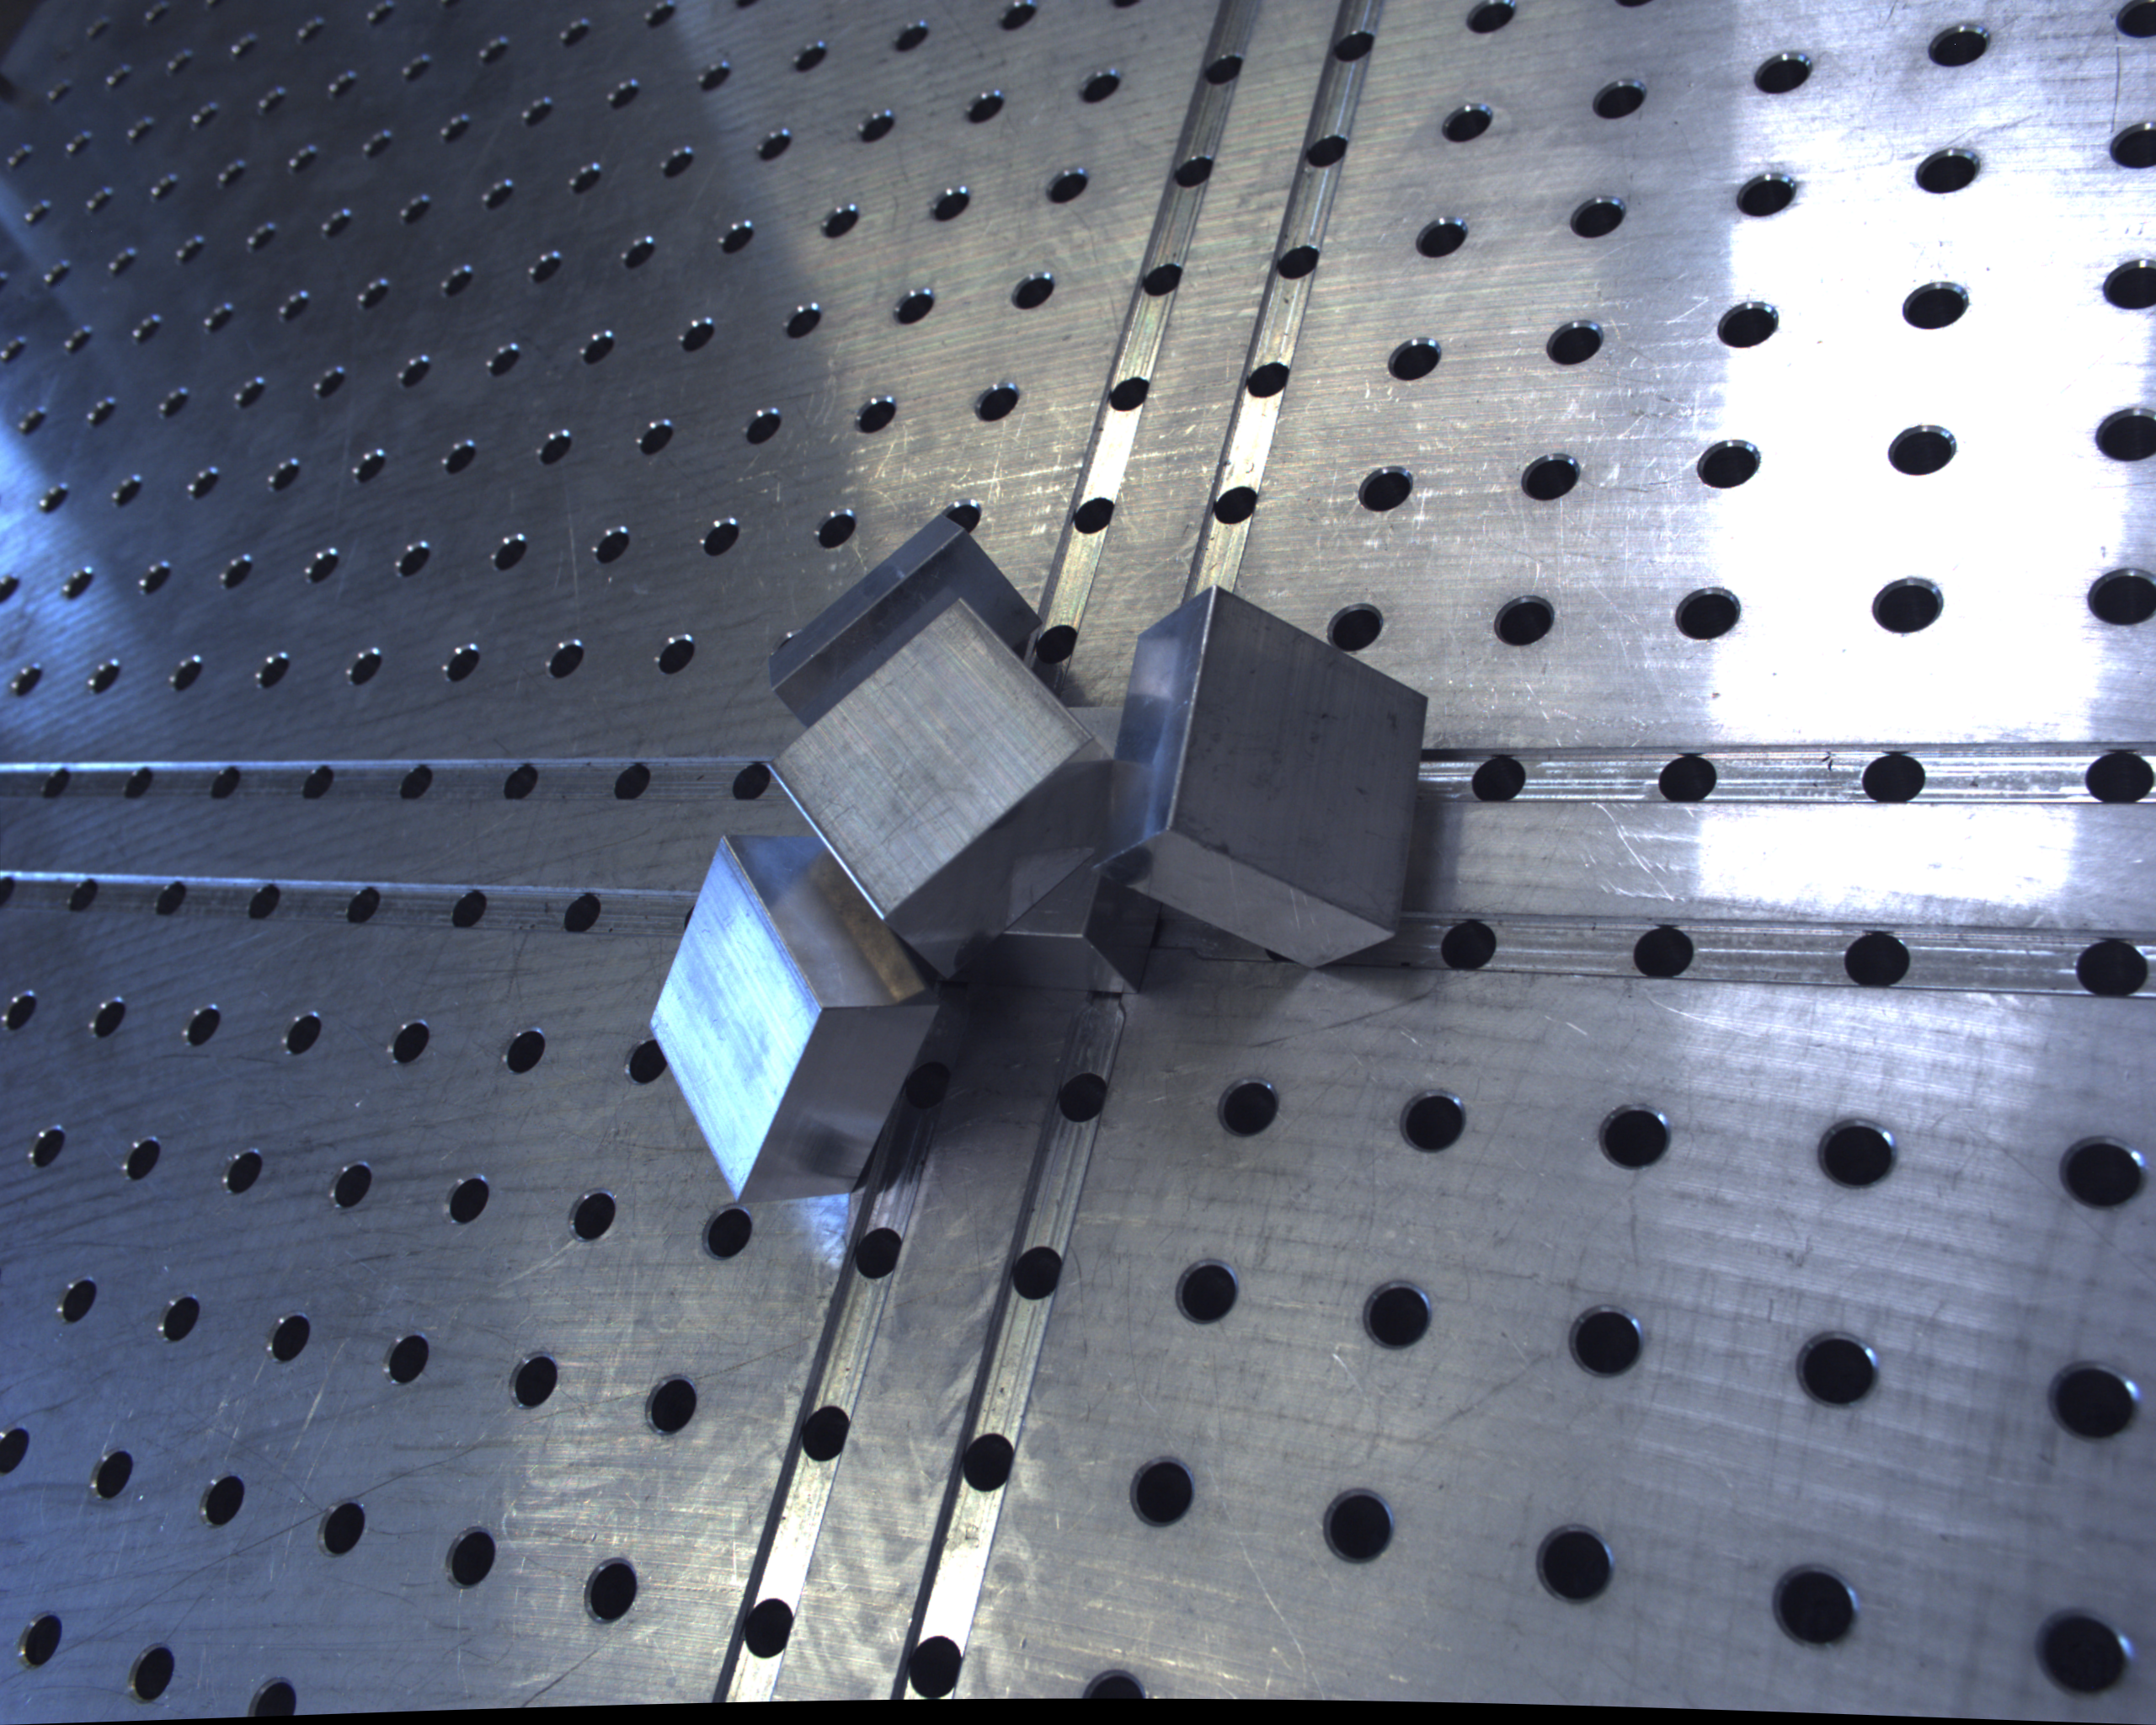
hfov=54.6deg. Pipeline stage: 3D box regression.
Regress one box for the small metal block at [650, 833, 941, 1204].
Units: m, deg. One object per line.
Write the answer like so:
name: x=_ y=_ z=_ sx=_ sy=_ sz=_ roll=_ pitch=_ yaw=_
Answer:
small metal block: x=-0.056 y=0.029 z=0.404 sx=0.050 sy=0.025 sz=0.050 roll=53 pitch=130 yaw=39

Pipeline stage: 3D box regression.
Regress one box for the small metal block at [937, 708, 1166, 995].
small metal block: x=-0.009 y=-0.003 z=0.415 sx=0.050 sy=0.025 sz=0.050 roll=2 pitch=65 yaw=29

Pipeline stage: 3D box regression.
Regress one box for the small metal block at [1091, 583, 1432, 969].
small metal block: x=0.034 y=-0.015 z=0.381 sx=0.025 sy=0.050 sz=0.050 roll=-29 pitch=43 yaw=53

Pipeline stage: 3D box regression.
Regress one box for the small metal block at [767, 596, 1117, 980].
small metal block: x=-0.023 y=-0.015 z=0.398 sx=0.050 sy=0.025 sz=0.050 roll=-41 pitch=51 yaw=-1

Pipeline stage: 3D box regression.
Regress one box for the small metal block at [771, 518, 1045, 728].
small metal block: x=-0.038 y=-0.047 z=0.442 sx=0.050 sy=0.025 sz=0.050 roll=-40 pitch=15 yaw=1
